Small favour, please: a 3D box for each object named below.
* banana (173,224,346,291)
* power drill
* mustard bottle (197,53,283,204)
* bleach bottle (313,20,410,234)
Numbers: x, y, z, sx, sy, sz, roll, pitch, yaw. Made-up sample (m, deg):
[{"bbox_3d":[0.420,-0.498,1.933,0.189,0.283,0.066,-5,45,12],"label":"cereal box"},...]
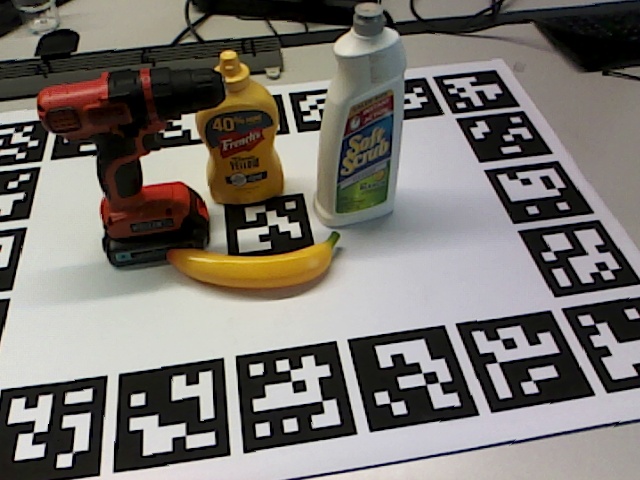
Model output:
[{"bbox_3d":[-0.064,0.023,0.685,0.197,0.039,0.074,-7,51,-3],"label":"banana"},{"bbox_3d":[-0.184,-0.085,0.662,0.184,0.186,0.057,-8,40,-10],"label":"power drill"},{"bbox_3d":[-0.094,-0.130,0.728,0.096,0.191,0.059,-7,47,-7],"label":"mustard bottle"},{"bbox_3d":[0.043,-0.120,0.687,0.102,0.250,0.068,-14,49,-12],"label":"bleach bottle"}]
